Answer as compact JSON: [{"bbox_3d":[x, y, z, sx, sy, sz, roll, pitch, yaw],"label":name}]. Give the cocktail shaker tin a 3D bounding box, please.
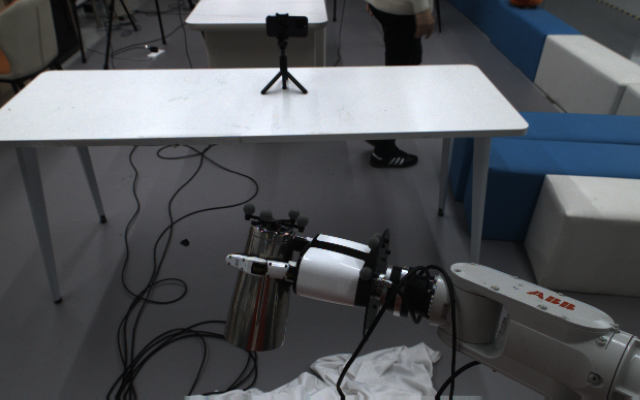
[{"bbox_3d":[-0.080,0.119,0.713,0.093,0.170,0.093,10,9,-2],"label":"cocktail shaker tin"}]
